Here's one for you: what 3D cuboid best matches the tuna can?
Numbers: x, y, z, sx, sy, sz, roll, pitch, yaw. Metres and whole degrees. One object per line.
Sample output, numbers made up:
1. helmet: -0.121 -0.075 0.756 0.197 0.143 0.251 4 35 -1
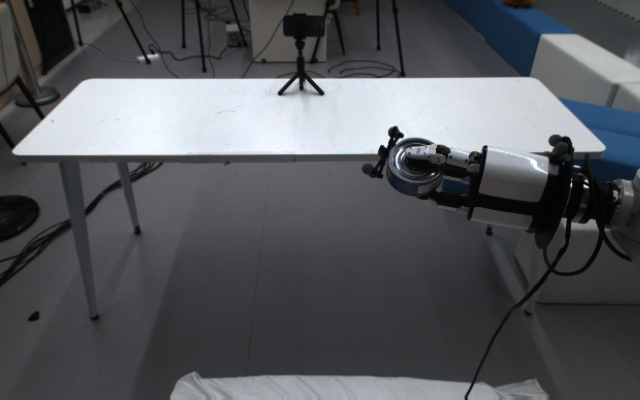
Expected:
1. tuna can: 0.144 -0.052 0.721 0.085 0.034 0.085 -1 61 1
